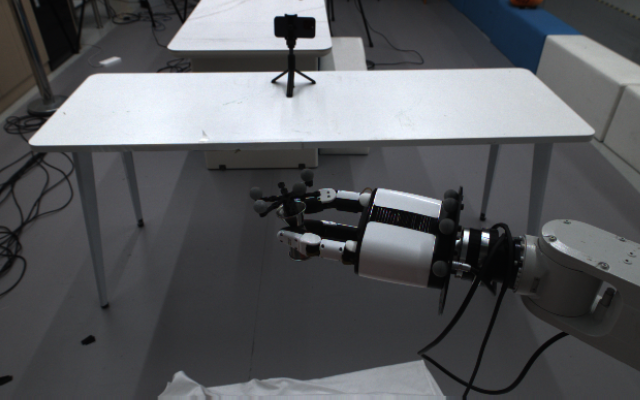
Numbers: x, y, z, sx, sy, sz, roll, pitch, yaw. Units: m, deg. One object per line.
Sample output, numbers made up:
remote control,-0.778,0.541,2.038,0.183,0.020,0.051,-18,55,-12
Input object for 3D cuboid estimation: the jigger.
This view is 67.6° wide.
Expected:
jigger,-0.028,0.040,0.632,0.043,0.071,0.043,-12,29,7
